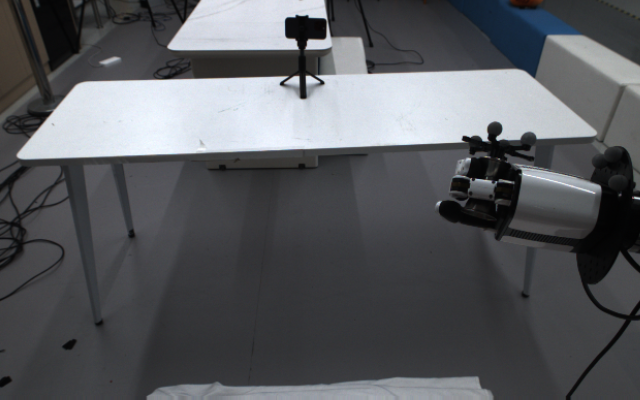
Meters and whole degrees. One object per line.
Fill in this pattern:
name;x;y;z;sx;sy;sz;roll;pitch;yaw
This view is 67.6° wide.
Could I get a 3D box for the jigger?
jigger;0.201;-0.015;0.582;0.043;0.071;0.043;19;-6;2
